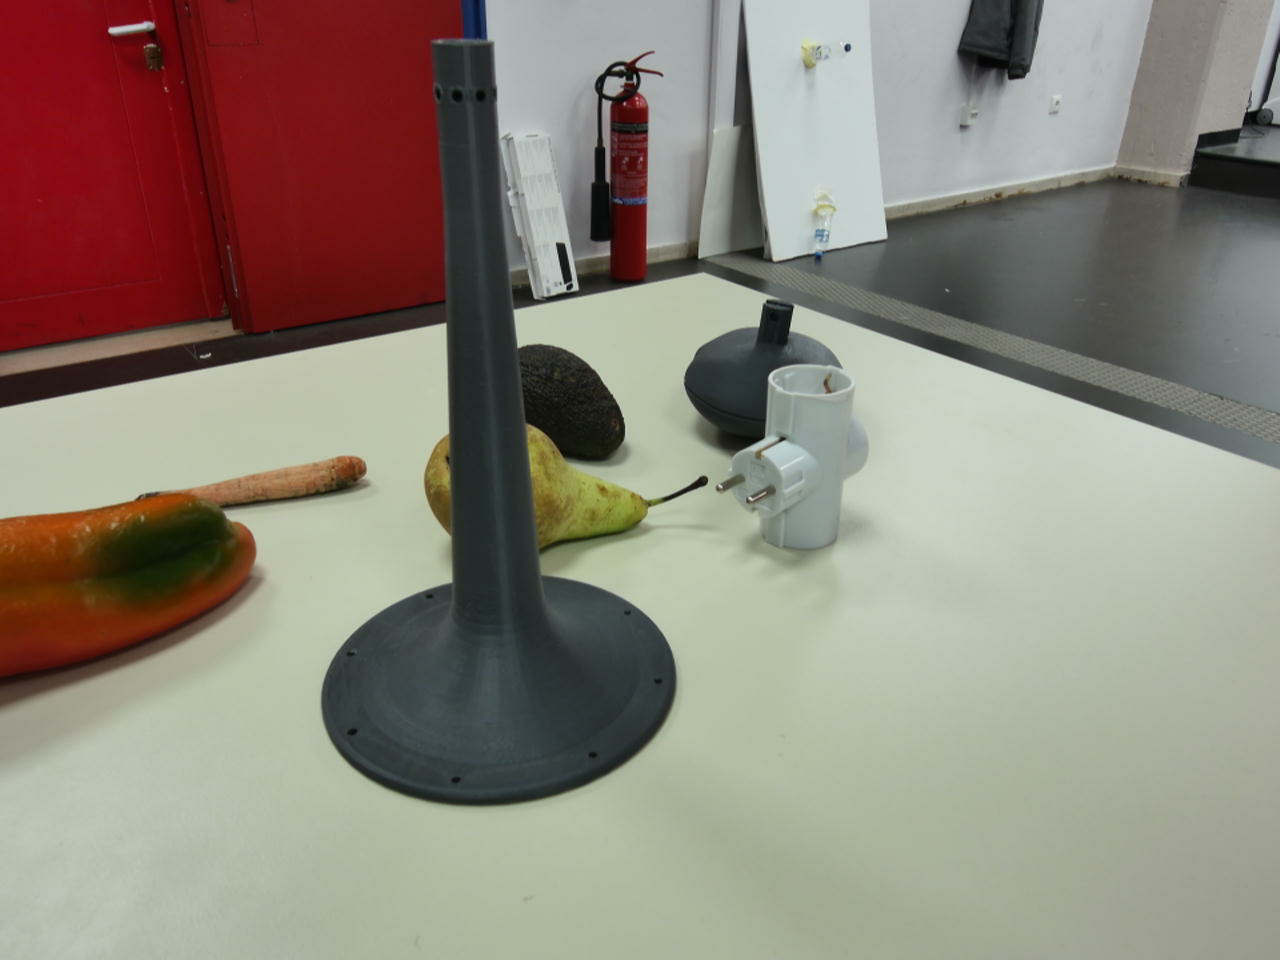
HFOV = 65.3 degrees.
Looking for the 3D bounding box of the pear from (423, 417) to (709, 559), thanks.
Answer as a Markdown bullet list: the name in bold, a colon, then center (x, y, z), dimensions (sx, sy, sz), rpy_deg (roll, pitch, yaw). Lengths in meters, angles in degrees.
- **pear**: center (-0.043, -0.003, 0.530), dimensions (0.144, 0.075, 0.071), rpy_deg (-14, 28, -27)
